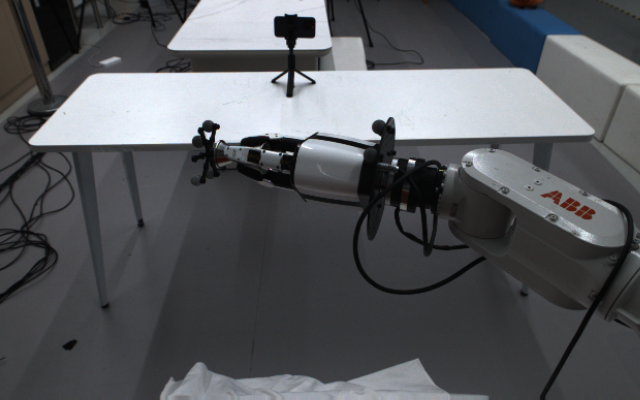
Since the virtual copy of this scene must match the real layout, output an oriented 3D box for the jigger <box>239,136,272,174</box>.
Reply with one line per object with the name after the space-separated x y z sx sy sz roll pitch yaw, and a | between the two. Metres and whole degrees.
-0.104 -0.064 0.668 0.071 0.043 0.043 6 35 14 | jigger
